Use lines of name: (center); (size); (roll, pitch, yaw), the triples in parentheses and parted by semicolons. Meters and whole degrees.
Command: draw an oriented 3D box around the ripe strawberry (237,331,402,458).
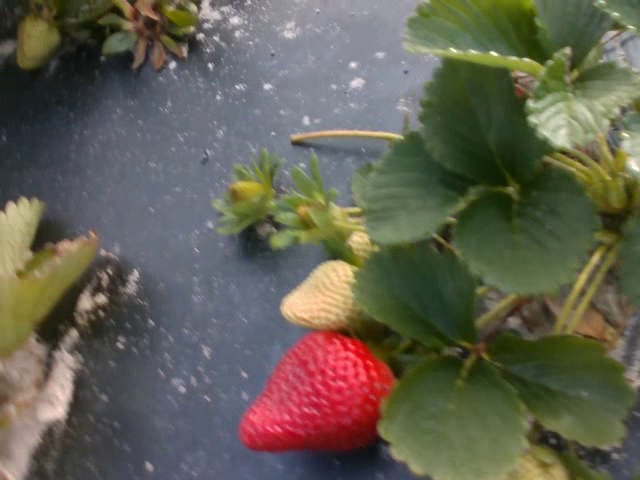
ripe strawberry: (-0.009, 0.058, 0.221); (0.055, 0.048, 0.051); (-16, 16, -23)
